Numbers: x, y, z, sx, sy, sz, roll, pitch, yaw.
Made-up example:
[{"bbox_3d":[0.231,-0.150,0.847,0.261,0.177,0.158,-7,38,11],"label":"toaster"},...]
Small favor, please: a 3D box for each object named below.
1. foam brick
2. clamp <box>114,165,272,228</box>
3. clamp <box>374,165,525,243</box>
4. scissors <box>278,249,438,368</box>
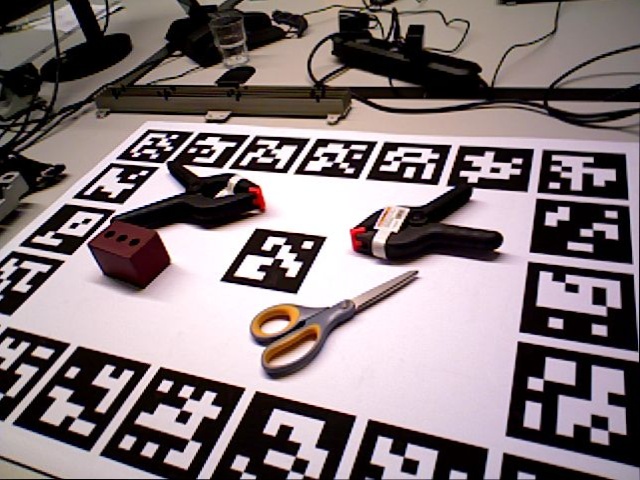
[{"bbox_3d":[-0.216,0.022,0.672,0.078,0.052,0.051,6,45,26],"label":"foam brick"},{"bbox_3d":[-0.165,-0.063,0.762,0.203,0.037,0.162,1,40,14],"label":"clamp"},{"bbox_3d":[0.144,-0.038,0.659,0.164,0.037,0.120,-16,48,-2],"label":"clamp"},{"bbox_3d":[0.049,0.057,0.581,0.199,0.016,0.087,-30,51,-21],"label":"scissors"}]
